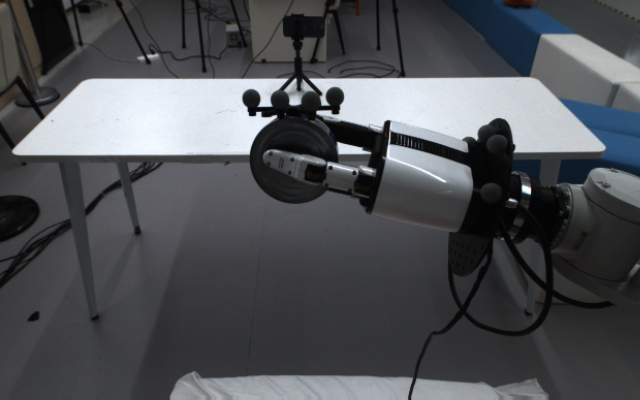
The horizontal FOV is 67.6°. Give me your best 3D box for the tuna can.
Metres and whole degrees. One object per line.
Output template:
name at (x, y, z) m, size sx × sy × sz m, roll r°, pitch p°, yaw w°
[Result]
tuna can at (-0.021, -0.037, 0.476) m, size 0.085 × 0.085 × 0.034 m, roll 4°, pitch 18°, yaw 3°
